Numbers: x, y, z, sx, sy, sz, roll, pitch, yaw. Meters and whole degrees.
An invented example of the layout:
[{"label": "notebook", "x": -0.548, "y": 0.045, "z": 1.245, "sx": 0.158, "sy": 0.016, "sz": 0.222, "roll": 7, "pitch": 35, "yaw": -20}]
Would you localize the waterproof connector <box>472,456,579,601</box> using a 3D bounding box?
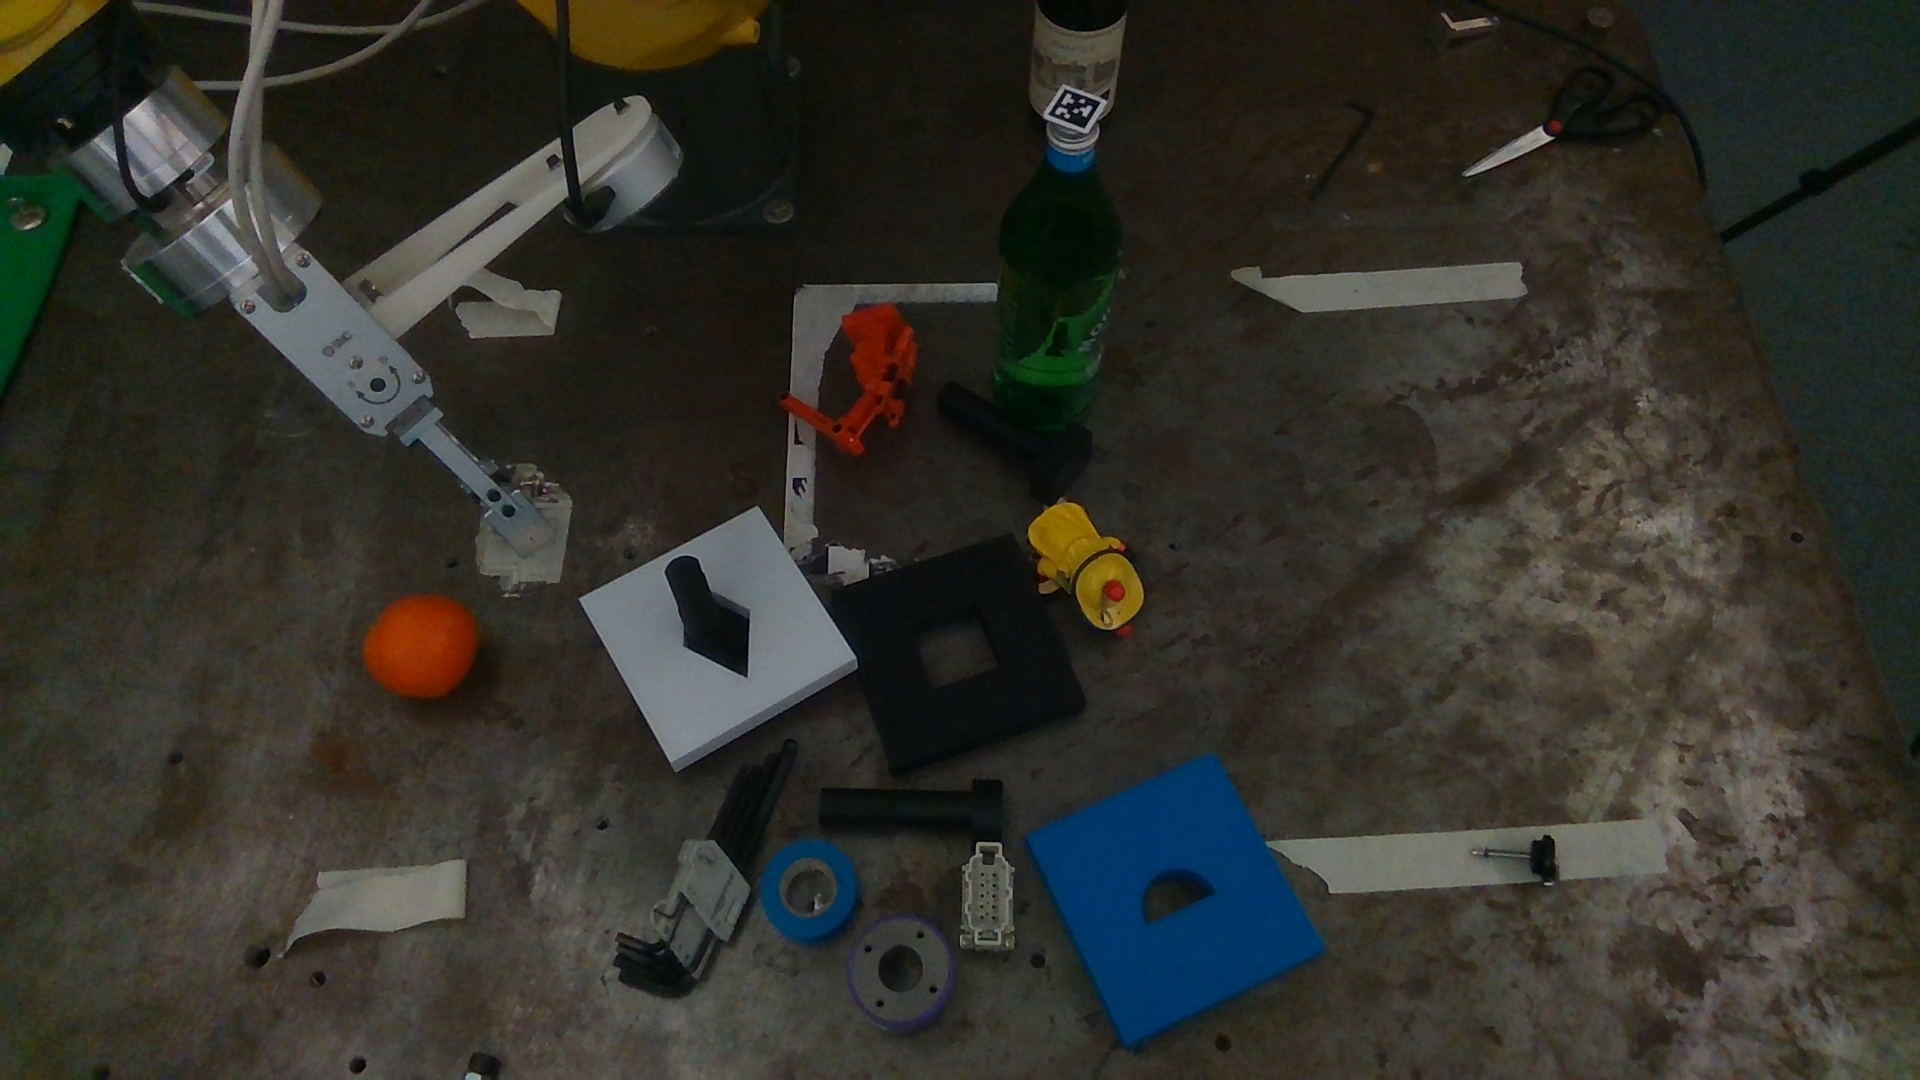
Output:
[{"label": "waterproof connector", "x": -0.218, "y": -0.005, "z": 0.691, "sx": 0.038, "sy": 0.069, "sz": 0.037, "roll": 5, "pitch": 16, "yaw": -41}]
